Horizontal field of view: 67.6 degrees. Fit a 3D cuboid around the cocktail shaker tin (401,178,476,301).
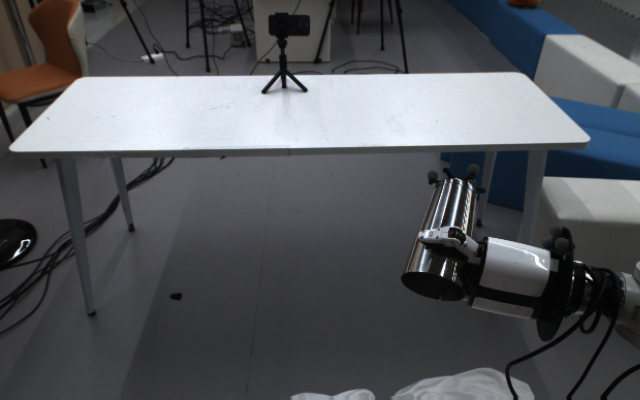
[{"bbox_3d":[0.186,0.053,0.723,0.093,0.093,0.170,13,60,16],"label":"cocktail shaker tin"}]
